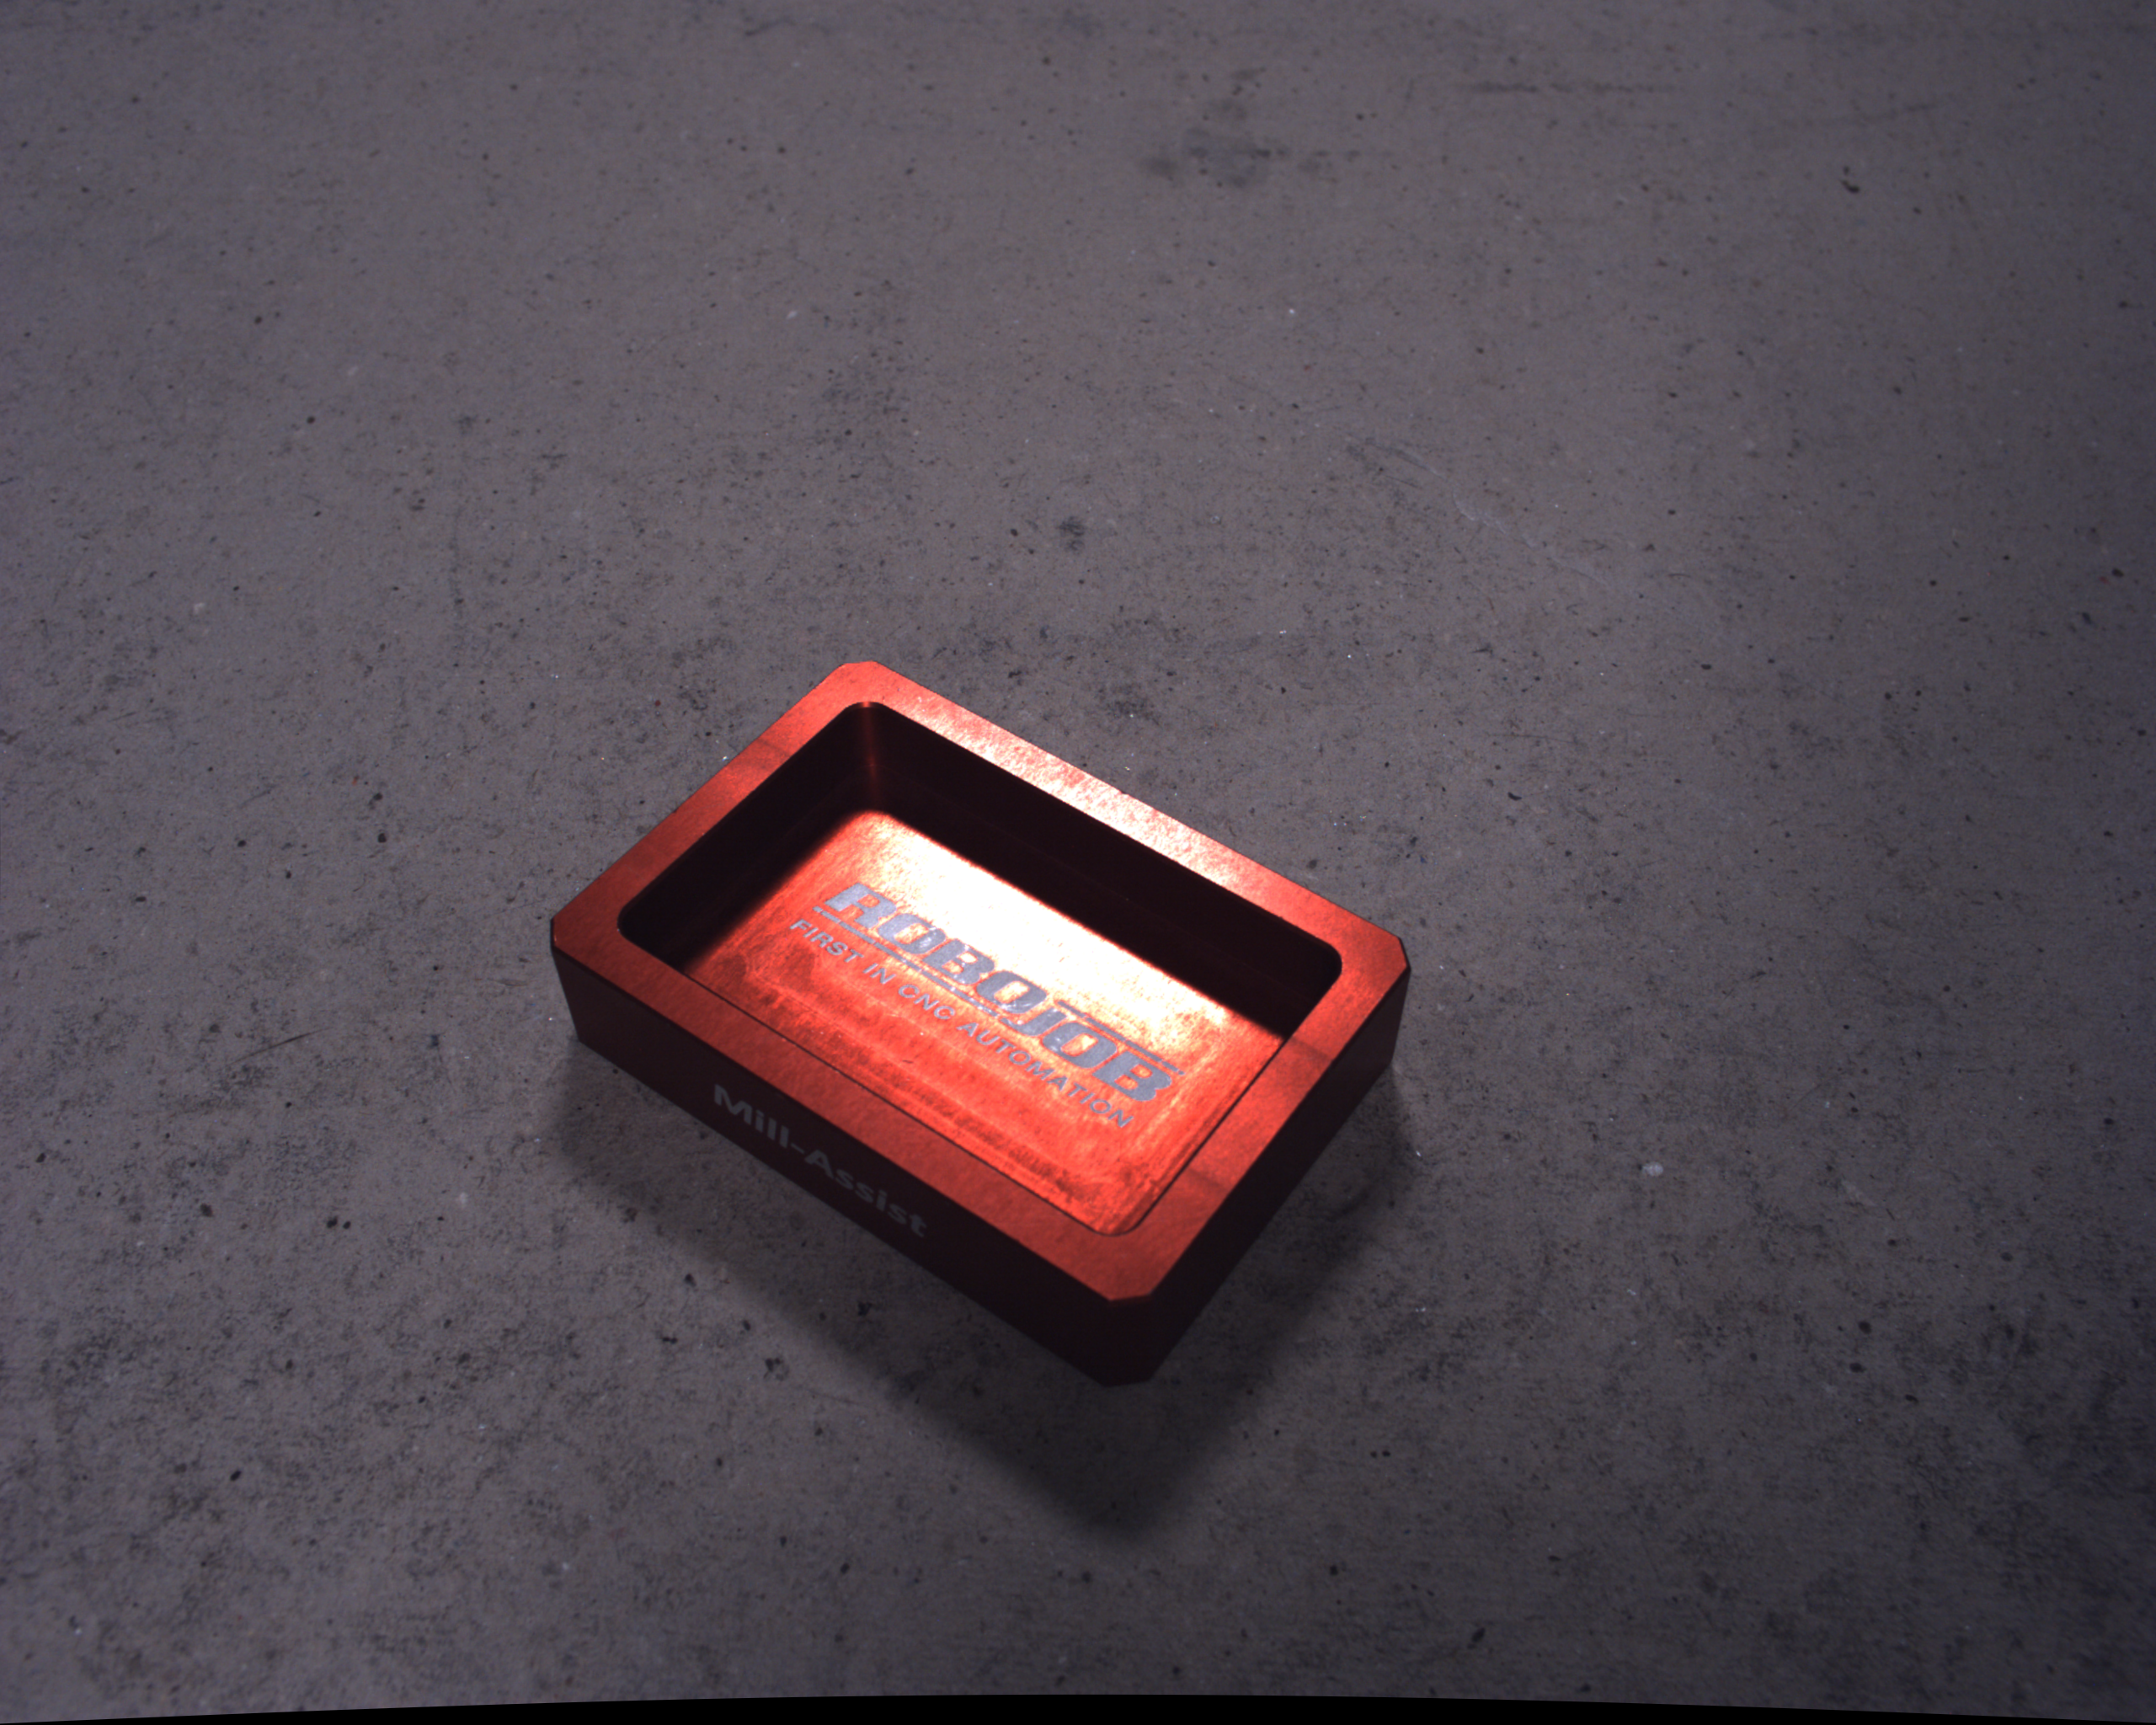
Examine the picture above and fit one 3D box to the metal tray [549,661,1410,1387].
[{"bbox_3d":[-0.018,0.023,0.381,0.130,0.030,0.090,29,55,22],"label":"metal tray"}]
